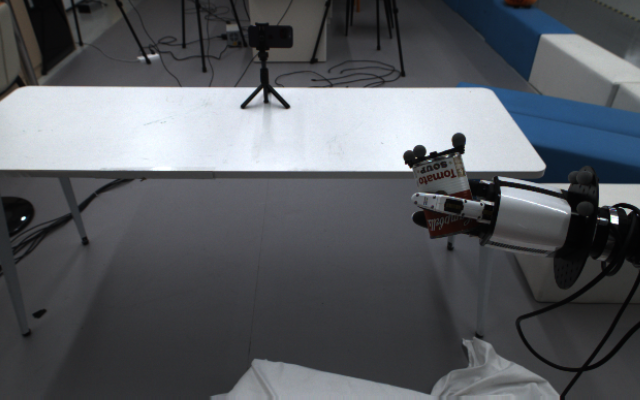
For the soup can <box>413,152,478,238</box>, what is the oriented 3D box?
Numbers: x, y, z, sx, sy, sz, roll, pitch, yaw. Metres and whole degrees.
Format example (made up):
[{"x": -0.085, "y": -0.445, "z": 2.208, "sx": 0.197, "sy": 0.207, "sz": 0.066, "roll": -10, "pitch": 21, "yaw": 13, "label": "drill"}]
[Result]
[{"x": 0.169, "y": -0.007, "z": 0.649, "sx": 0.067, "sy": 0.101, "sz": 0.067, "roll": -14, "pitch": -2, "yaw": -1, "label": "soup can"}]
